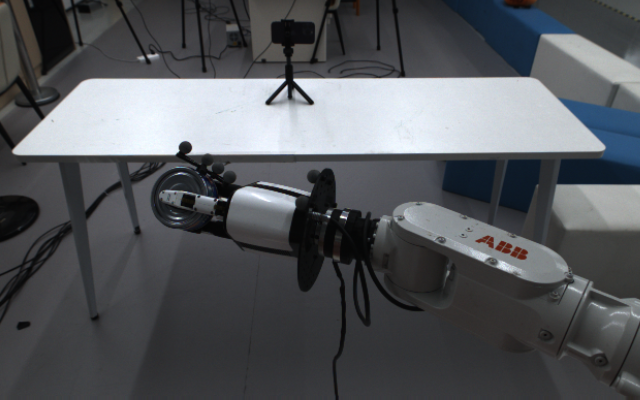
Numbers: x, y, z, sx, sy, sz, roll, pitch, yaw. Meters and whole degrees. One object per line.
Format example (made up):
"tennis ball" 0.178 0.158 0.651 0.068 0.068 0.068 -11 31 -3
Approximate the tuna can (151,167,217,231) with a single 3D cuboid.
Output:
"tuna can" -0.183 -0.002 0.654 0.085 0.085 0.034 12 -4 14
